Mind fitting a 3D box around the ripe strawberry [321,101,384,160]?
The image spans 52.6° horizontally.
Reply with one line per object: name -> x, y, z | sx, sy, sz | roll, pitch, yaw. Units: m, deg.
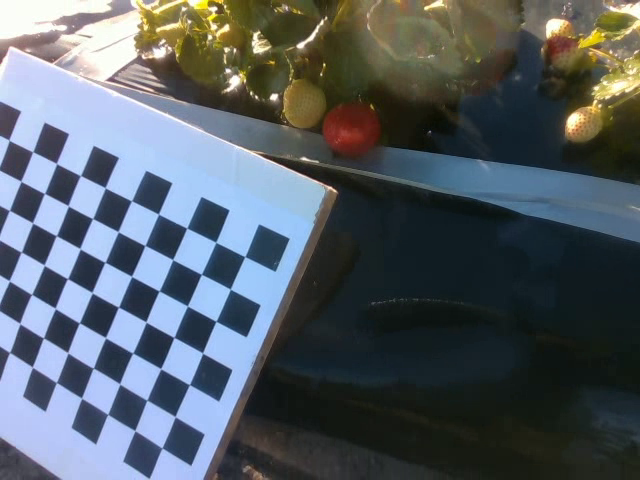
ripe strawberry -> 0.024, -0.081, 0.472 | 0.045, 0.048, 0.064 | -43, 13, 11
